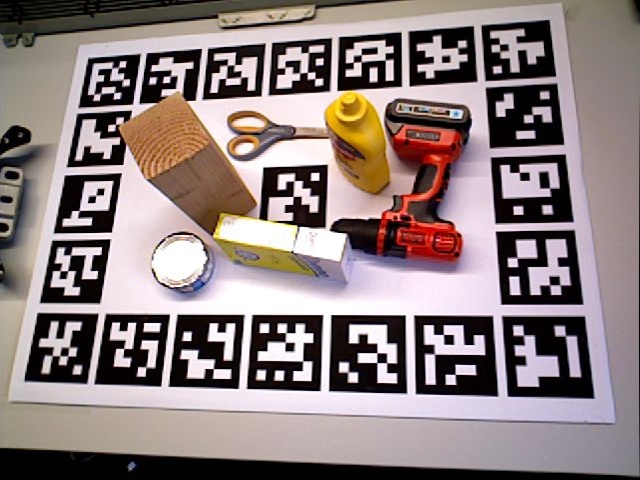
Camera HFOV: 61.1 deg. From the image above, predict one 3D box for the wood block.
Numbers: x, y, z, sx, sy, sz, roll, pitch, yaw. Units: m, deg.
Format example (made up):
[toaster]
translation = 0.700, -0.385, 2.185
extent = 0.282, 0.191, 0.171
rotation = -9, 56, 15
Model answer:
[wood block]
translation = -0.168, -0.092, 0.726
extent = 0.091, 0.207, 0.089
rotation = -29, 71, -1

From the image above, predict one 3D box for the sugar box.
[sugar box]
translation = -0.040, 0.015, 0.723
extent = 0.176, 0.094, 0.045
rotation = 10, 71, 11

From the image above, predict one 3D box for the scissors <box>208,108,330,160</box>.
[scissors]
translation = -0.076, -0.163, 0.820
extent = 0.203, 0.016, 0.087
rotation = 0, 70, 10

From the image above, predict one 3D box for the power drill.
[power drill]
translation = 0.104, -0.068, 0.738
extent = 0.185, 0.057, 0.187
rotation = 11, 83, 13

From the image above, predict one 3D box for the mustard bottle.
[mustard bottle]
translation = 0.049, -0.134, 0.705
extent = 0.058, 0.192, 0.096
rotation = -40, 72, -5

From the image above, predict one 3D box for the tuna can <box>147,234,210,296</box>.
[tuna can]
translation = -0.200, 0.036, 0.771
extent = 0.086, 0.034, 0.085
rotation = -3, 74, 8
